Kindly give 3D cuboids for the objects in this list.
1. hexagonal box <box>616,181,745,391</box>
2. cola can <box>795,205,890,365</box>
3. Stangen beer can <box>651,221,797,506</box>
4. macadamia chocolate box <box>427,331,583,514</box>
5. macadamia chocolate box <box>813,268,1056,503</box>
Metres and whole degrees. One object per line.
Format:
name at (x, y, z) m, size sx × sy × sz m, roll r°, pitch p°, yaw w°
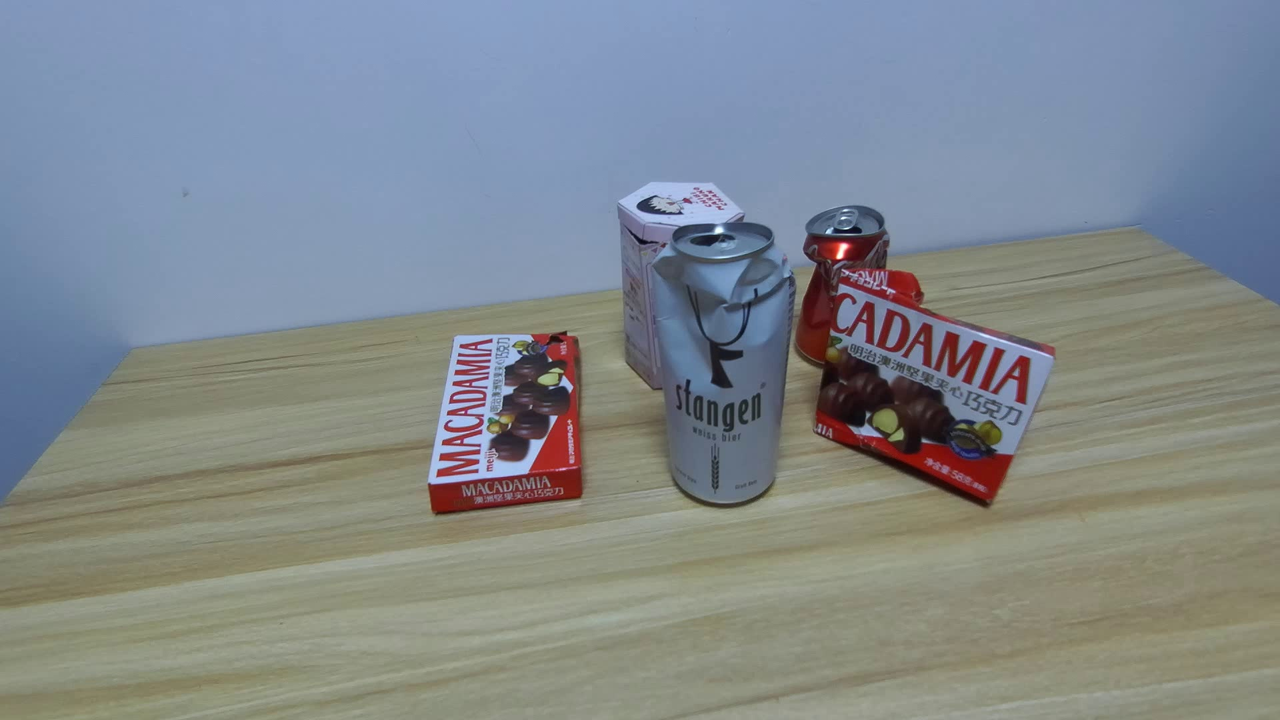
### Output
hexagonal box at (0.028, -0.055, 0.521) m, size 0.085 × 0.135 × 0.091 m, roll -17°, pitch 36°, yaw -19°
cola can at (0.154, -0.056, 0.533) m, size 0.069 × 0.113 × 0.065 m, roll -22°, pitch 39°, yaw -19°
Stangen beer can at (0.048, 0.005, 0.406) m, size 0.066 × 0.166 × 0.065 m, roll -27°, pitch 39°, yaw -31°
macadamia chocolate box at (-0.091, 0.031, 0.512) m, size 0.103 × 0.027 × 0.186 m, roll -5°, pitch 35°, yaw -5°
macadamia chocolate box at (0.175, 0.012, 0.430) m, size 0.126 × 0.112 × 0.056 m, roll 25°, pitch 41°, yaw 36°
